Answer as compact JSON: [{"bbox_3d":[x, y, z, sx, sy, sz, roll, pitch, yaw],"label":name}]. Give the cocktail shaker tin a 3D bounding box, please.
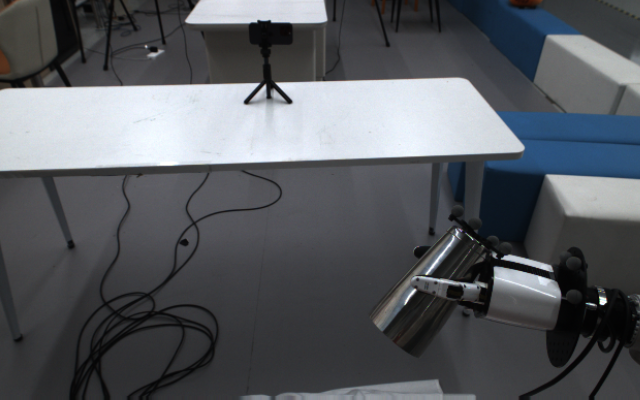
[{"bbox_3d":[0.157,0.117,0.670,0.170,0.093,0.093,-50,46,3],"label":"cocktail shaker tin"}]
